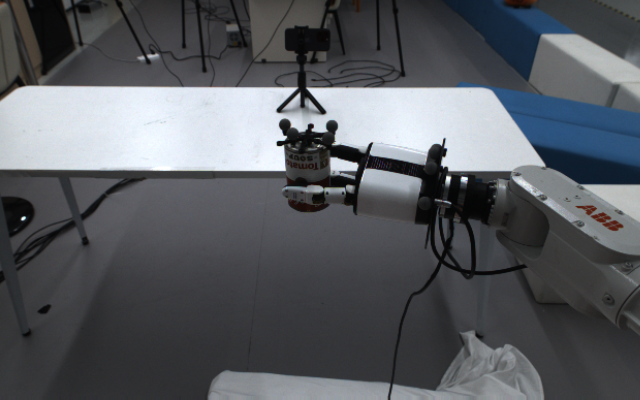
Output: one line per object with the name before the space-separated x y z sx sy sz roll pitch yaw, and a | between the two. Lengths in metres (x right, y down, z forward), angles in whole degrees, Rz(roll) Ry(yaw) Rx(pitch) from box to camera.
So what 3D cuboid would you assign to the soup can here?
soup can | -0.017 -0.043 0.718 0.067 0.101 0.067 -2 34 1
